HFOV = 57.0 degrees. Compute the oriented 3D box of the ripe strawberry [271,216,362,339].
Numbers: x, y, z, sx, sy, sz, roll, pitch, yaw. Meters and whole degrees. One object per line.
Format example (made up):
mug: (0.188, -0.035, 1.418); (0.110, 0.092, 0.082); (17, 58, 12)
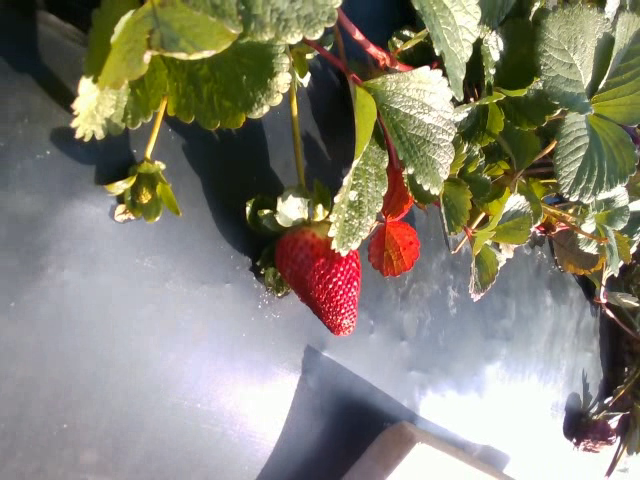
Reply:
ripe strawberry: (0.002, 0.018, 0.244); (0.040, 0.056, 0.040); (-17, -8, -20)
